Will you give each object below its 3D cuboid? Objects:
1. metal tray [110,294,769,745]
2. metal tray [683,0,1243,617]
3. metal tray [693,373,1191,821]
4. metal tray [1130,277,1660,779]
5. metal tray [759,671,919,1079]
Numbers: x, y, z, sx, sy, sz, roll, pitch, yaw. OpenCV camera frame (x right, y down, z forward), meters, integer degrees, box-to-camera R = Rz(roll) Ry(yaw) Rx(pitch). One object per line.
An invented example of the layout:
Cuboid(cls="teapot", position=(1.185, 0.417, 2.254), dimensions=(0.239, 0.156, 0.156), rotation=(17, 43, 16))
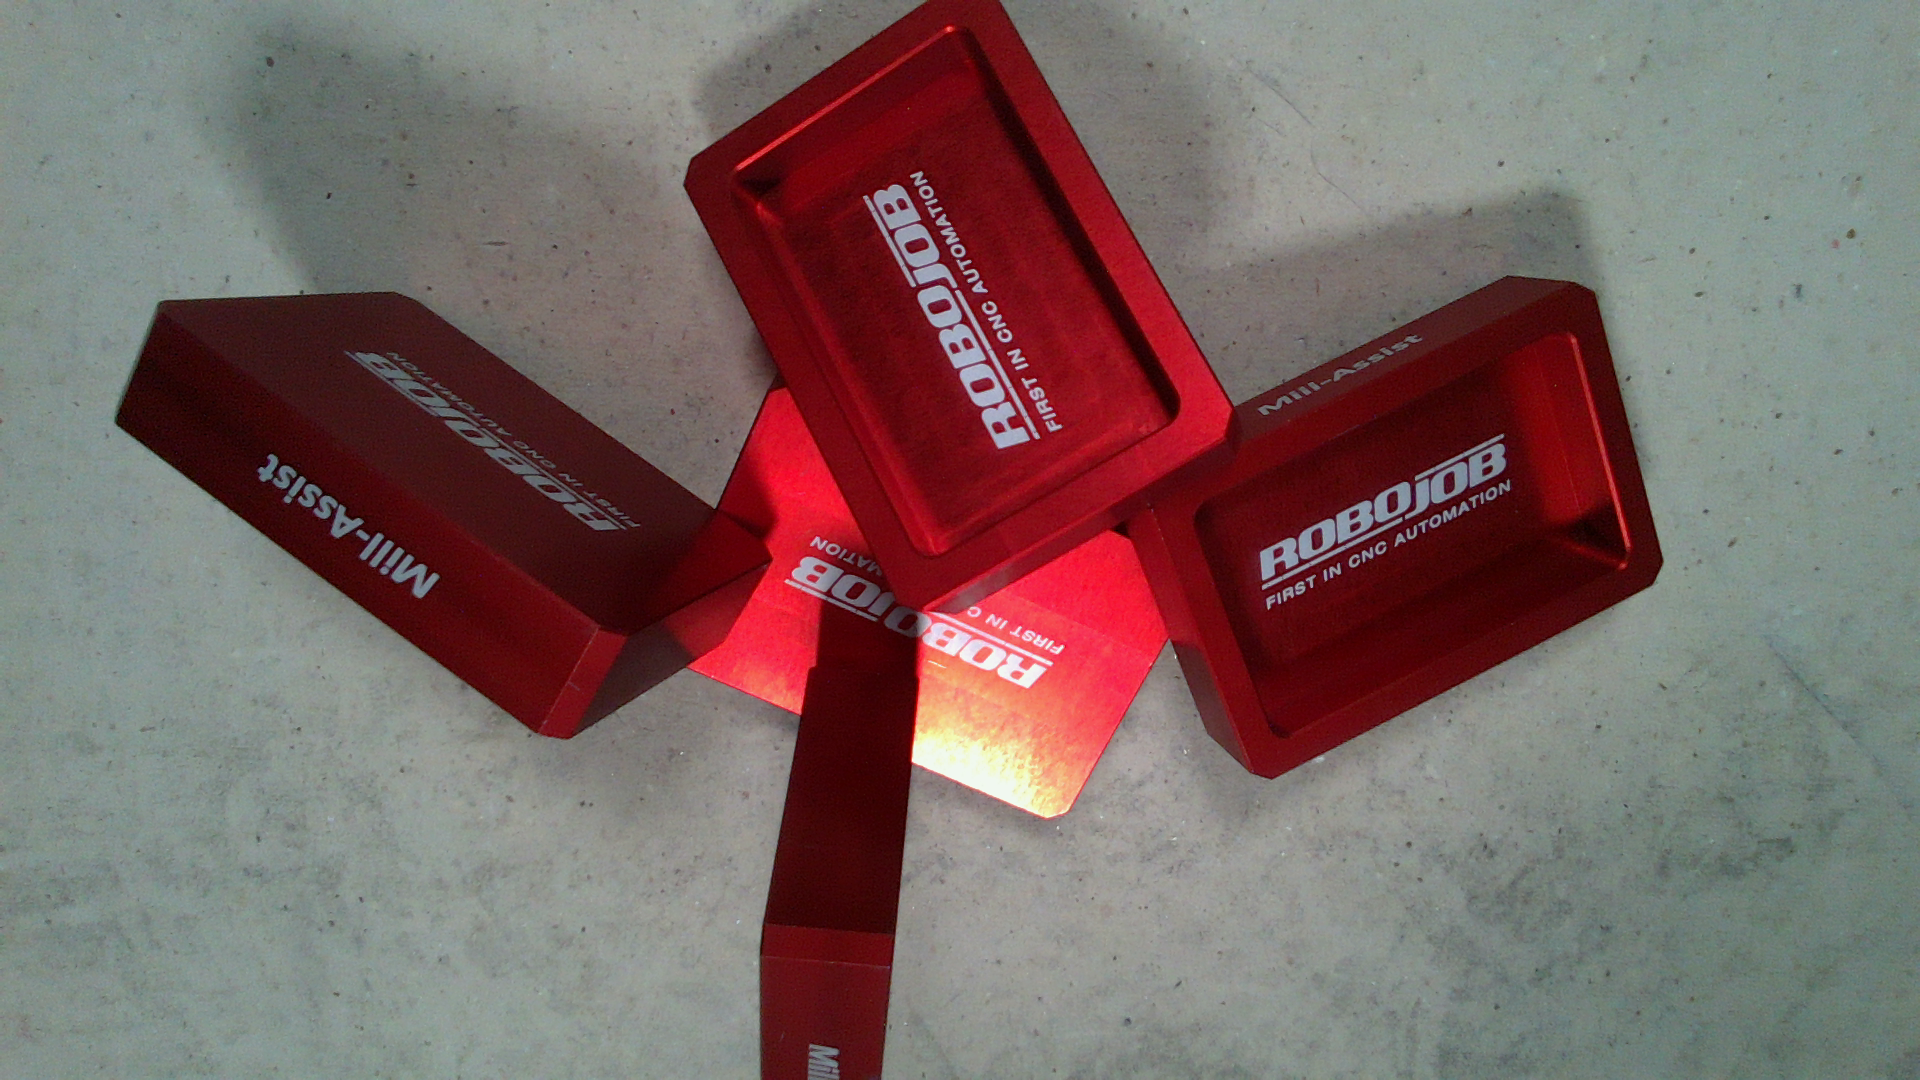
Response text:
Cuboid(cls="metal tray", position=(-0.121, -0.011, 0.338), dimensions=(0.130, 0.090, 0.030), rotation=(35, 107, 5))
Cuboid(cls="metal tray", position=(0.000, -0.058, 0.339), dimensions=(0.090, 0.030, 0.130), rotation=(-30, 79, 10))
Cuboid(cls="metal tray", position=(-0.010, 0.016, 0.397), dimensions=(0.130, 0.030, 0.090), rotation=(24, 108, -9))
Cuboid(cls="metal tray", position=(0.117, -0.004, 0.373), dimensions=(0.130, 0.030, 0.090), rotation=(-26, 109, -7))
Cuboid(cls="metal tray", position=(-0.033, 0.111, 0.380), dimensions=(0.030, 0.090, 0.130), rotation=(5, 131, -1))
